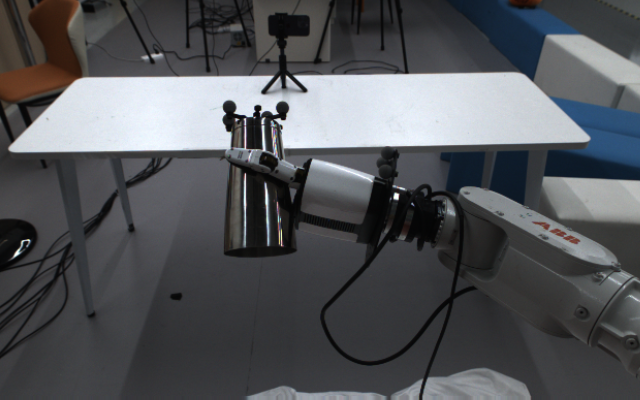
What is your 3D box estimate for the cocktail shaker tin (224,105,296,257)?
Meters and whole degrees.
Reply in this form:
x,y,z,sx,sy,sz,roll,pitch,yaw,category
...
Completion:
x,y,z,sx,sy,sz,roll,pitch,yaw,category
-0.080,-0.016,0.627,0.093,0.093,0.170,-3,76,-7,cocktail shaker tin
